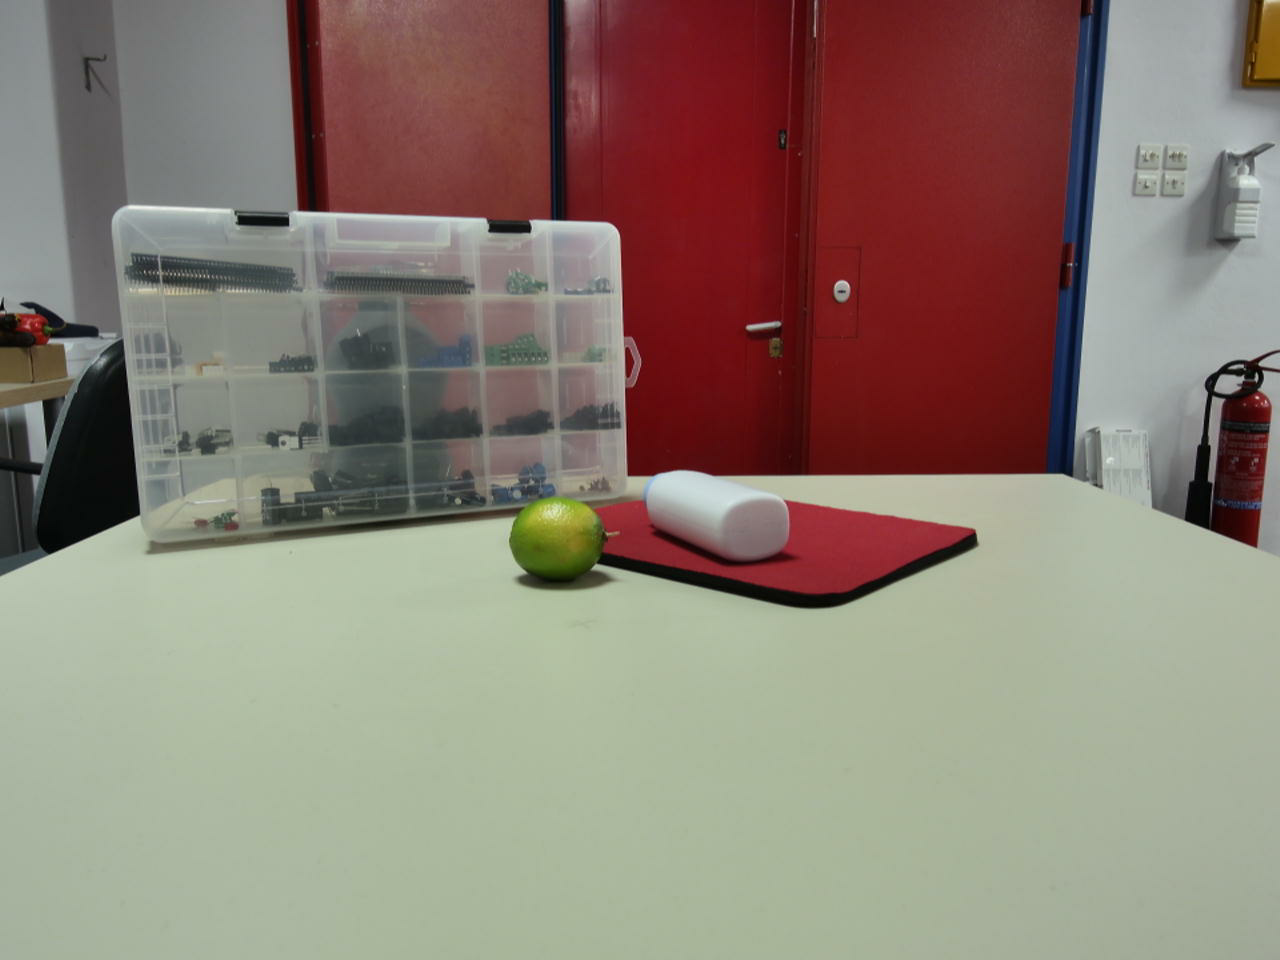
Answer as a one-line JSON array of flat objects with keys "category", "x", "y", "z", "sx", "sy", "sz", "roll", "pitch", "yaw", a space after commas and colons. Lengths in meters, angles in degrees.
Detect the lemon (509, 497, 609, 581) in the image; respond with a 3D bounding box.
[{"category": "lemon", "x": -0.050, "y": 0.035, "z": 0.609, "sx": 0.054, "sy": 0.050, "sz": 0.055, "roll": -8, "pitch": 10, "yaw": -40}]
